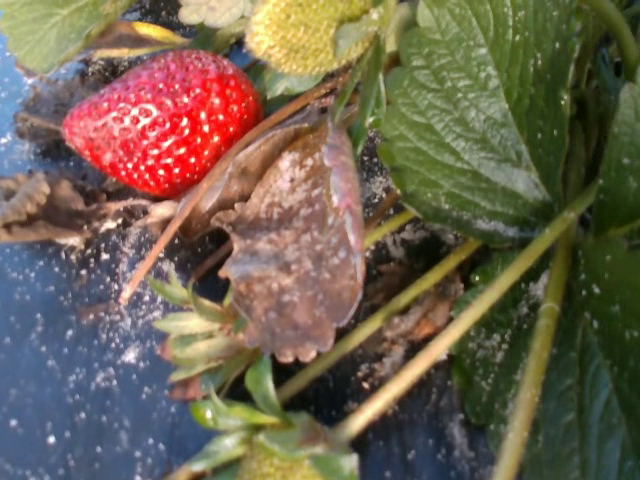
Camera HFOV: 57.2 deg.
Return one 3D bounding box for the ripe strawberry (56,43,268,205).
[{"bbox_3d":[-0.028,-0.019,0.096,0.030,0.026,0.031,-24,45,-37],"label":"ripe strawberry"}]
